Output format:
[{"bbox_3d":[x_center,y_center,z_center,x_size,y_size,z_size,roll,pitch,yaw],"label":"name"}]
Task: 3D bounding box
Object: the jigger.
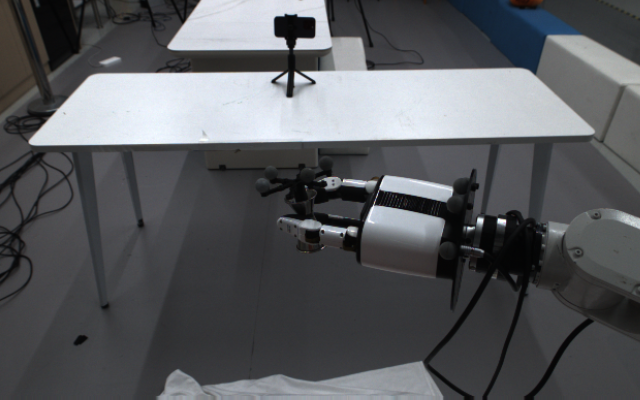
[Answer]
[{"bbox_3d":[-0.015,0.025,0.591,0.043,0.071,0.043,-11,24,5],"label":"jigger"}]
